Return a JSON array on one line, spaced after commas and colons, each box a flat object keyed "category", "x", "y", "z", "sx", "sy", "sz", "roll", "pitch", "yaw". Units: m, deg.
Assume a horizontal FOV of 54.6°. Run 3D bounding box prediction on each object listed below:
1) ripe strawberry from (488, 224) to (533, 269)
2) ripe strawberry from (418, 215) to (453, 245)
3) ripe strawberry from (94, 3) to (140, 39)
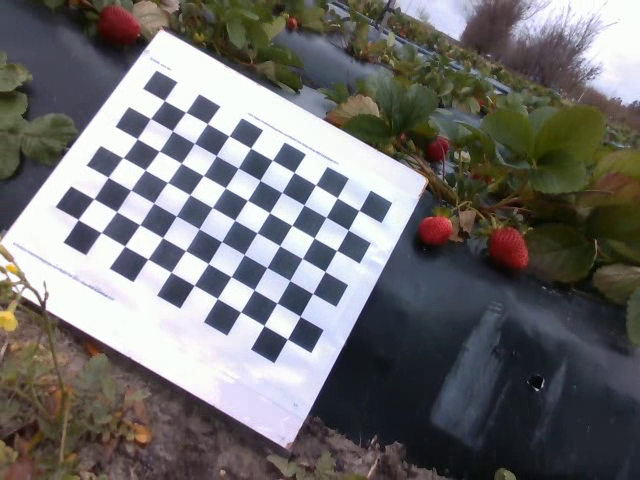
[{"category": "ripe strawberry", "x": 0.190, "y": 0.007, "z": 0.615, "sx": 0.044, "sy": 0.059, "sz": 0.042, "roll": -20, "pitch": -38, "yaw": -2}, {"category": "ripe strawberry", "x": 0.114, "y": -0.011, "z": 0.599, "sx": 0.036, "sy": 0.041, "sz": 0.028, "roll": 25, "pitch": -38, "yaw": 12}, {"category": "ripe strawberry", "x": -0.220, "y": -0.244, "z": 0.695, "sx": 0.064, "sy": 0.046, "sz": 0.049, "roll": 25, "pitch": -16, "yaw": 37}]
